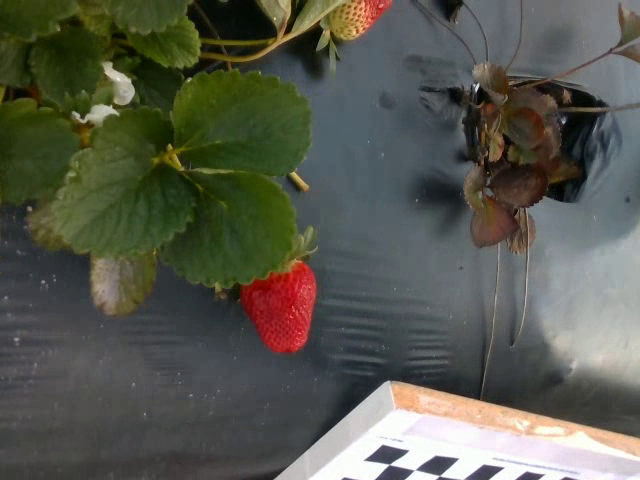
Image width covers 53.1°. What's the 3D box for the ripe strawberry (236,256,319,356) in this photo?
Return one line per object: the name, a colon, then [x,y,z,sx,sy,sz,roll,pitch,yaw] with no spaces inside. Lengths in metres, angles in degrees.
ripe strawberry: [-0.021,0.036,0.335,0.045,0.055,0.042,-15,-17,9]
